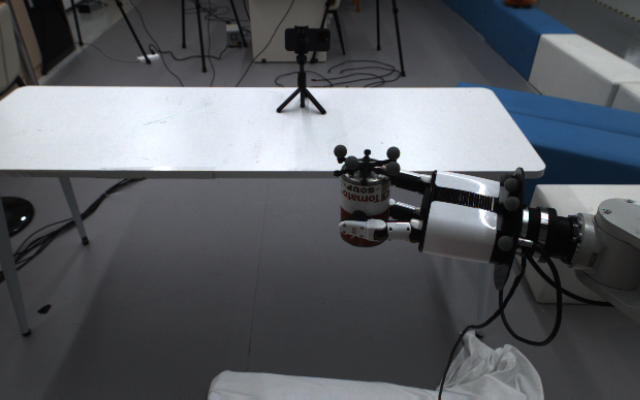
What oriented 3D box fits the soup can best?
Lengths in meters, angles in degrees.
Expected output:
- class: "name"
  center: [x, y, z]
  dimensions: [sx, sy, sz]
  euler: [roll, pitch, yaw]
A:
- class: "soup can"
  center: [0.062, 0.002, 0.652]
  dimensions: [0.067, 0.101, 0.067]
  euler: [-2, 33, 1]
